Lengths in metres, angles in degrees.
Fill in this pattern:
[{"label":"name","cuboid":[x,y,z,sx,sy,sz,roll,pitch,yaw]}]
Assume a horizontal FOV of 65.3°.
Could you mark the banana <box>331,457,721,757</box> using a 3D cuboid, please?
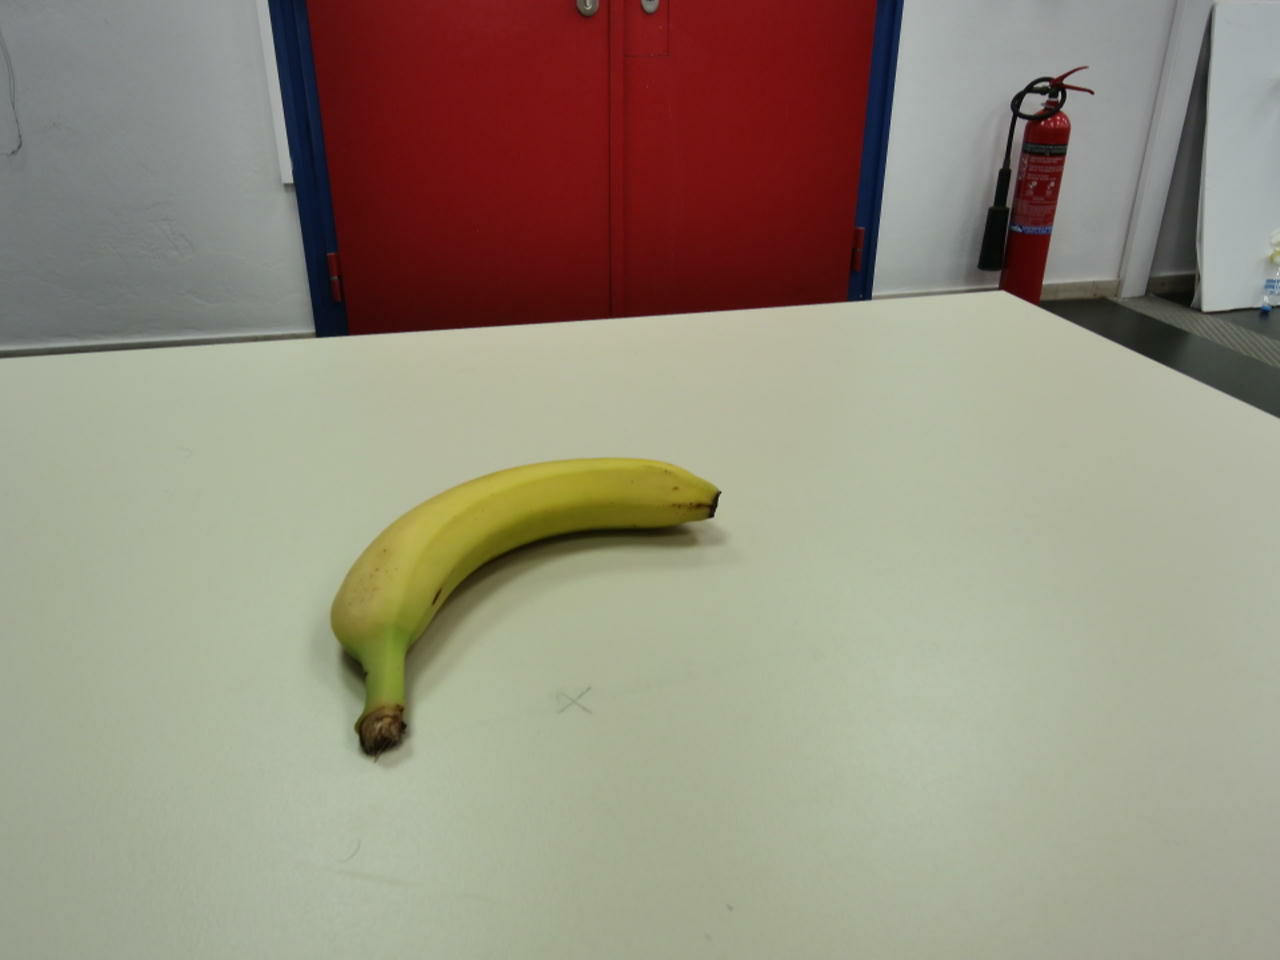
[{"label":"banana","cuboid":[-0.057,0.030,0.412,0.094,0.041,0.196,19,31,36]}]
